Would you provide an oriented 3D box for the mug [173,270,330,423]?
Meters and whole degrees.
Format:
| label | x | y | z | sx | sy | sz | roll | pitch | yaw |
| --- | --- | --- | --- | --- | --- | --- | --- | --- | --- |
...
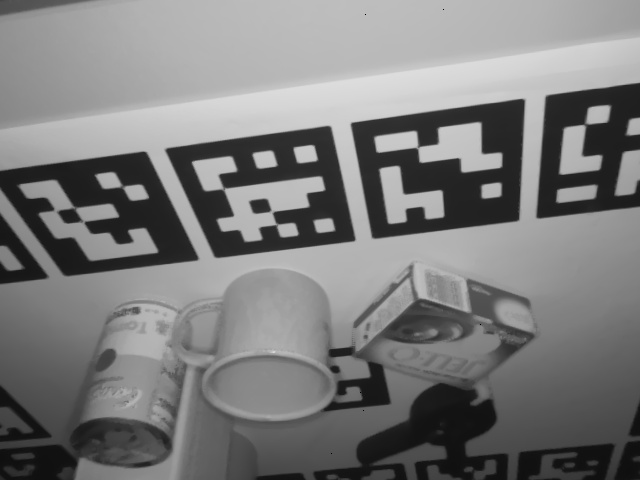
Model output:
| label | x | y | z | sx | sy | sz | roll | pitch | yaw |
| --- | --- | --- | --- | --- | --- | --- | --- | --- | --- |
| mug | -0.050 | 0.073 | 0.512 | 0.118 | 0.082 | 0.092 | 19 | 133 | -20 |

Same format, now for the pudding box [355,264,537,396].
| label | x | y | z | sx | sy | sz | roll | pitch | yaw |
| --- | --- | --- | --- | --- | --- | --- | --- | --- | --- |
| pudding box | 0.098 | 0.074 | 0.550 | 0.115 | 0.039 | 0.088 | 21 | 127 | -21 |

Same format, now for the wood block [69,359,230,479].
| label | x | y | z | sx | sy | sz | roll | pitch | yaw |
| --- | --- | --- | --- | --- | --- | --- | --- | --- | --- |
| wood block | -0.141 | 0.208 | 0.549 | 0.089 | 0.208 | 0.090 | -7 | 133 | 11 |

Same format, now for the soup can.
| label | x | y | z | sx | sy | sz | roll | pitch | yaw |
| --- | --- | --- | --- | --- | --- | --- | --- | --- | --- |
| soup can | -0.139 | 0.106 | 0.525 | 0.068 | 0.103 | 0.067 | -1 | 131 | 0 |

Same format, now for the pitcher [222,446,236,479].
| label | x | y | z | sx | sy | sz | roll | pitch | yaw |
| --- | --- | --- | --- | --- | --- | --- | --- | --- | --- |
| pitcher | -0.145 | 0.308 | 0.622 | 0.189 | 0.244 | 0.132 | -9 | 135 | 4 |

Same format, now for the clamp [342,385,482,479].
| label | x | y | z | sx | sy | sz | roll | pitch | yaw |
| --- | --- | --- | --- | --- | --- | --- | --- | --- | --- |
| clamp | 0.103 | 0.187 | 0.665 | 0.122 | 0.037 | 0.162 | 19 | 130 | -9 |
